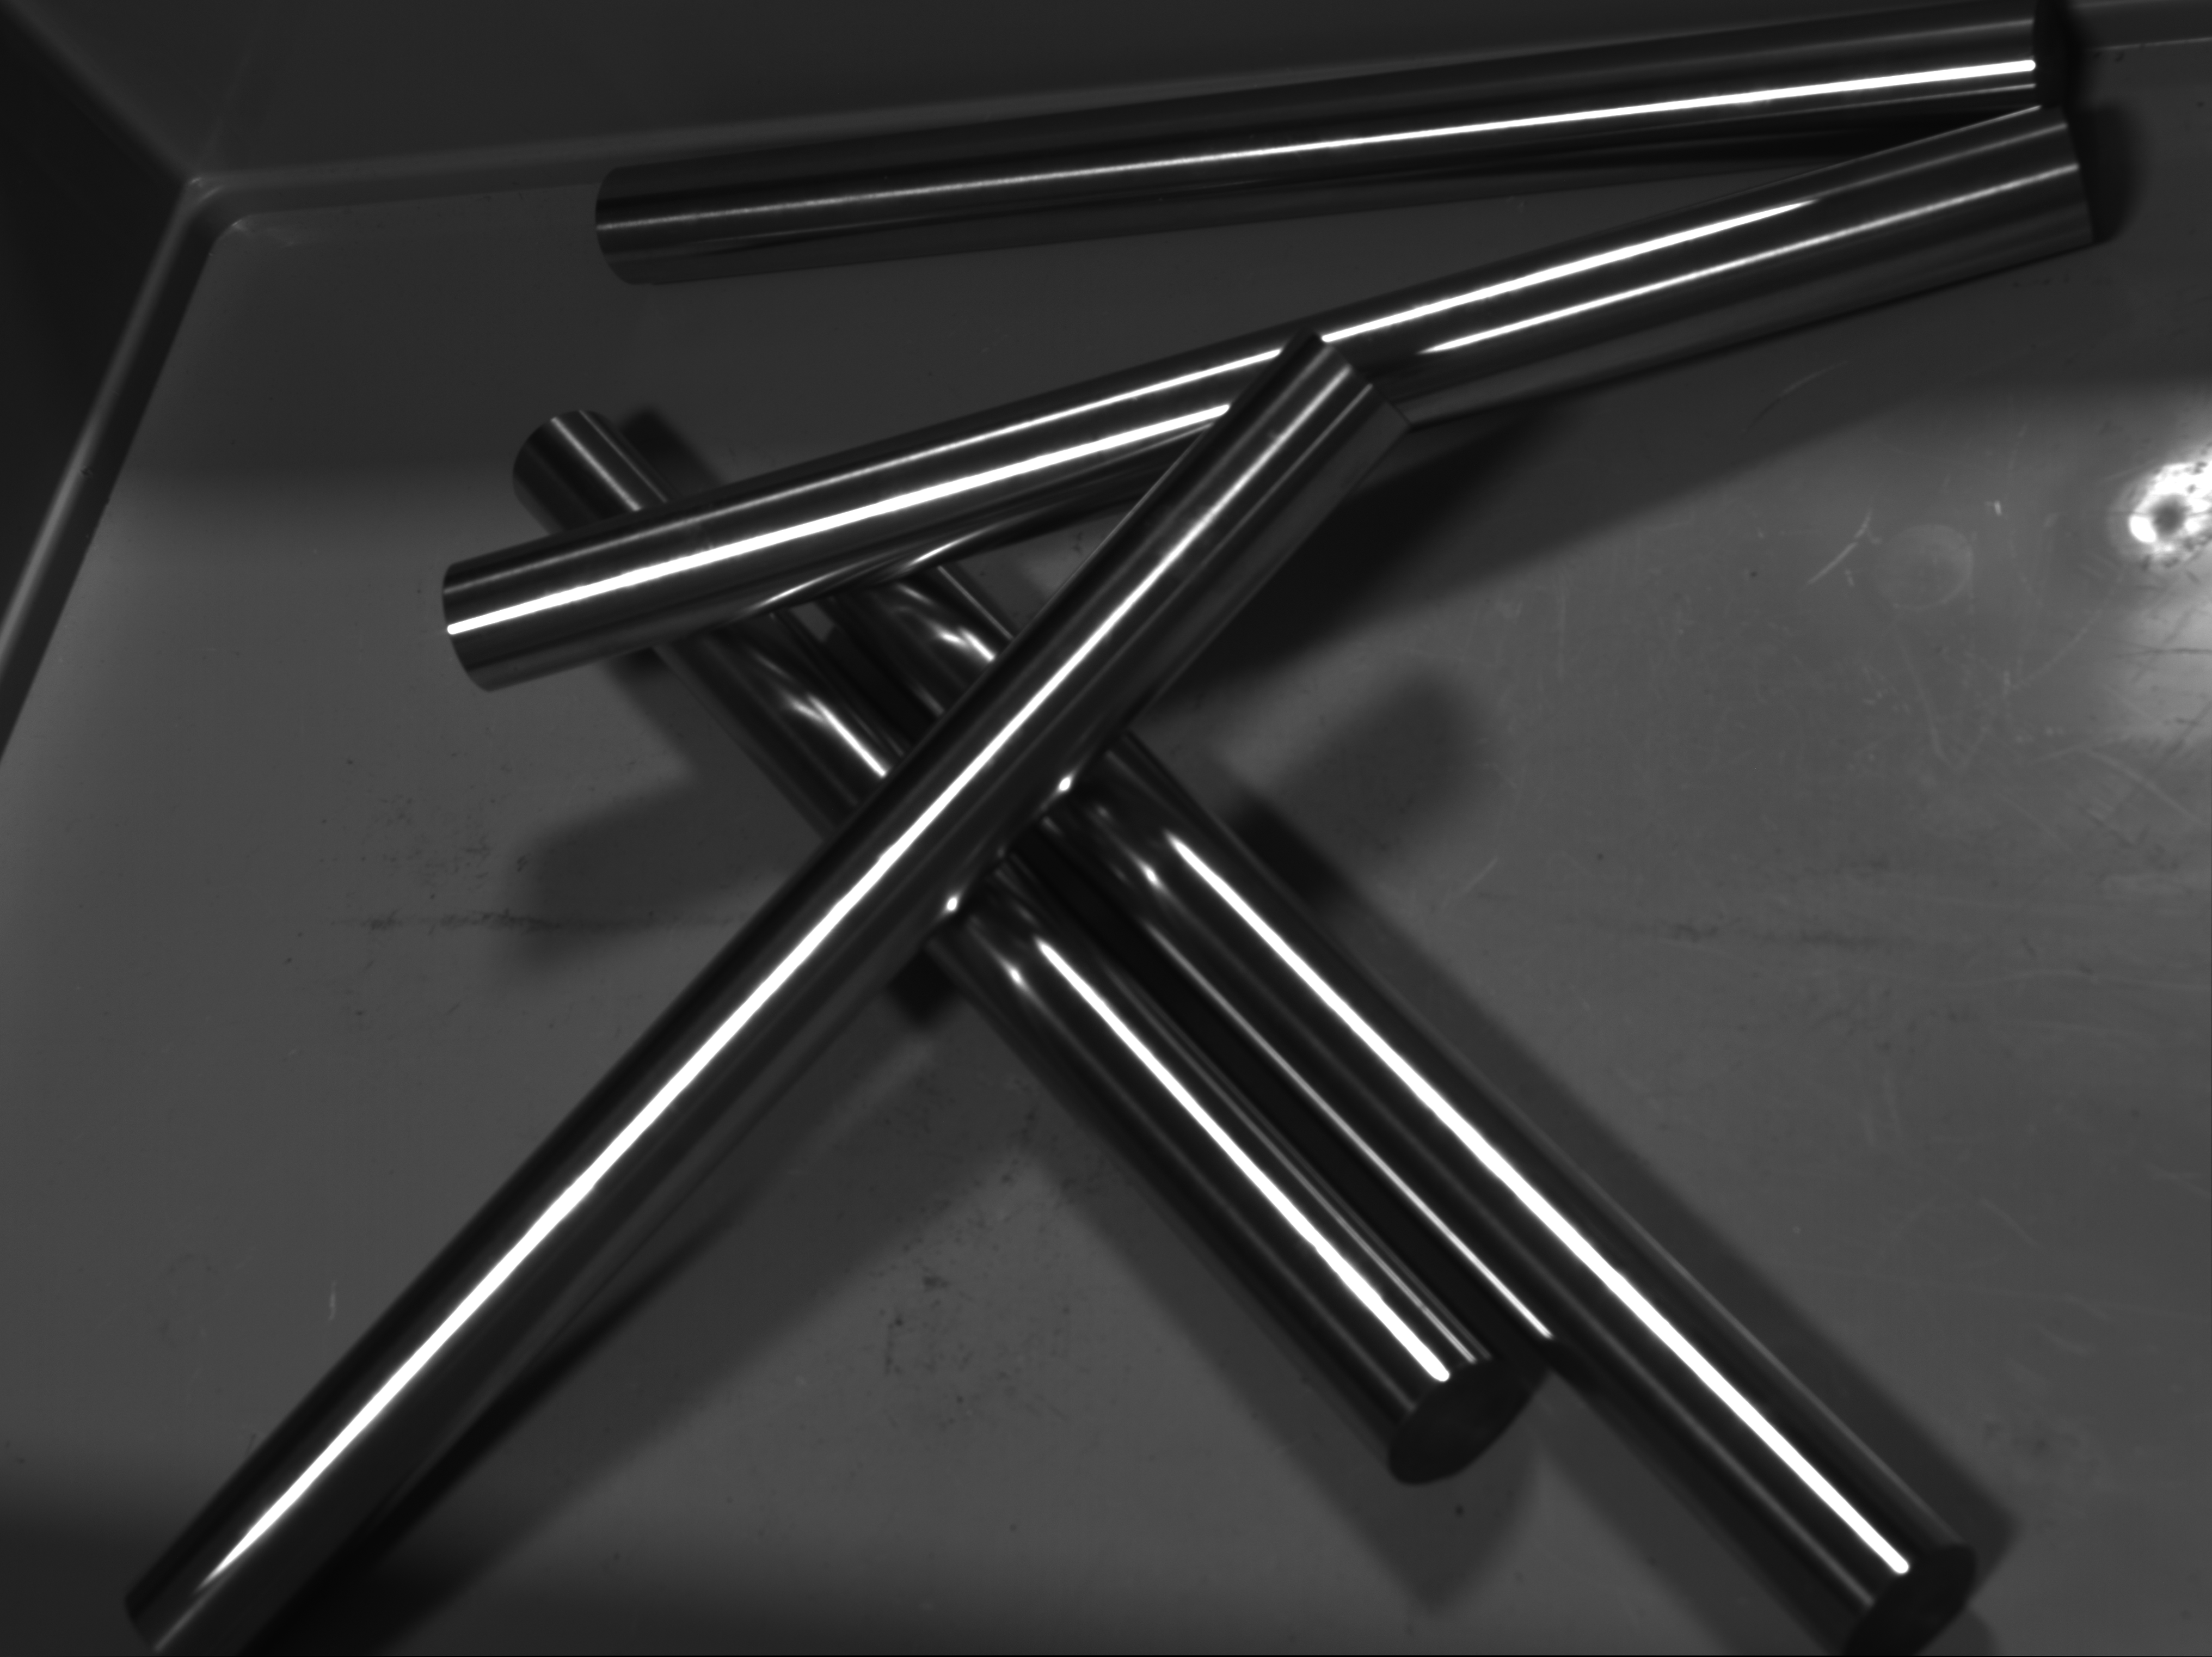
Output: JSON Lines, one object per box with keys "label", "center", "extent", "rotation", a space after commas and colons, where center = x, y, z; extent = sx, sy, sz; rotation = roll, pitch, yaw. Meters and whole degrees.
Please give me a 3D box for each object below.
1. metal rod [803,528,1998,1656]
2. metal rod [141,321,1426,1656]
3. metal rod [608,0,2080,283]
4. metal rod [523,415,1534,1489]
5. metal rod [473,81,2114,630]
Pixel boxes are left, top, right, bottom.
{"label": "metal rod", "center": [0.034, 0.028, 0.608], "extent": [0.025, 0.025, 0.299], "rotation": [-43, 51, -2]}
{"label": "metal rod", "center": [-0.057, 0.032, 0.628], "extent": [0.300, 0.025, 0.025], "rotation": [-47, 50, 5]}
{"label": "metal rod", "center": [0.034, -0.130, 0.706], "extent": [0.299, 0.025, 0.025], "rotation": [-1, 61, 28]}
{"label": "metal rod", "center": [-0.026, 0.009, 0.653], "extent": [0.025, 0.025, 0.299], "rotation": [-43, 51, -2]}
{"label": "metal rod", "center": [0.027, -0.083, 0.660], "extent": [0.300, 0.025, 0.025], "rotation": [-13, 56, 14]}
